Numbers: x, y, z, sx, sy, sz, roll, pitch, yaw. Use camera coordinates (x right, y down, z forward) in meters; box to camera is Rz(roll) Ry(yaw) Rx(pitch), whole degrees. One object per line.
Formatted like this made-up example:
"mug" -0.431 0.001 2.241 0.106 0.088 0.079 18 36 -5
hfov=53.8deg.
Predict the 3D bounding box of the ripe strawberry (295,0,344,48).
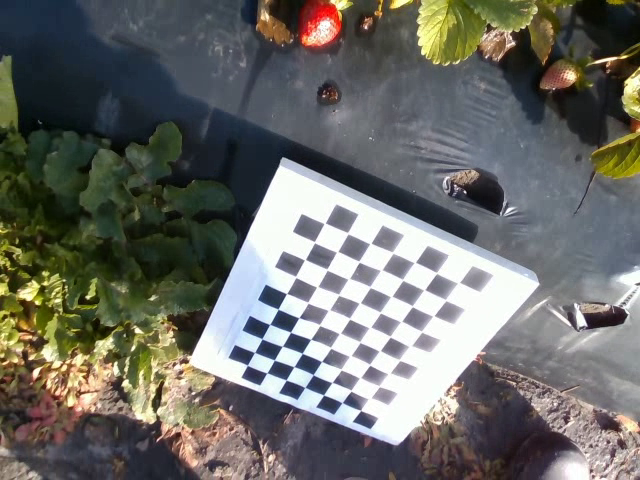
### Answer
"ripe strawberry" -0.006 -0.158 0.475 0.046 0.054 0.037 42 -18 -19
